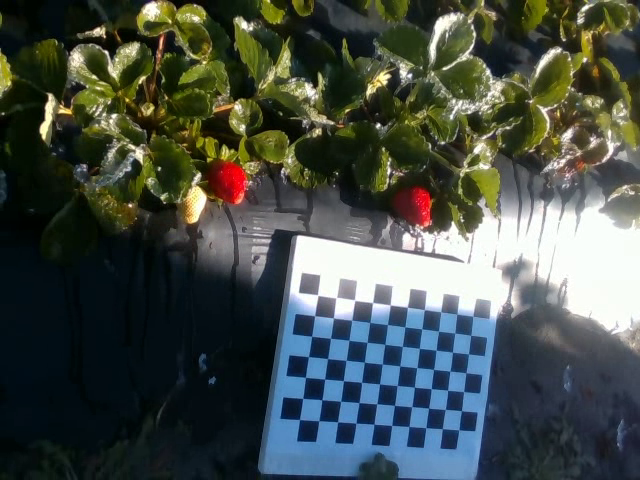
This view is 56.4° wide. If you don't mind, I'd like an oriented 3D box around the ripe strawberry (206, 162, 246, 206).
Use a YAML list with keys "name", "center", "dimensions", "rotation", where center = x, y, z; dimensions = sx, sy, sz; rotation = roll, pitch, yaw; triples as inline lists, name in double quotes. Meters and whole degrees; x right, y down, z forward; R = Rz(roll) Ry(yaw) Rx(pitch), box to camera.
- name: "ripe strawberry"
  center: [-0.096, -0.054, 0.633]
  dimensions: [0.042, 0.061, 0.046]
  rotation: [-7, -40, -21]

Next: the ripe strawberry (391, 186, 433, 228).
- name: "ripe strawberry"
  center: [0.118, -0.038, 0.711]
  dimensions: [0.048, 0.061, 0.044]
  rotation: [1, -33, -22]
